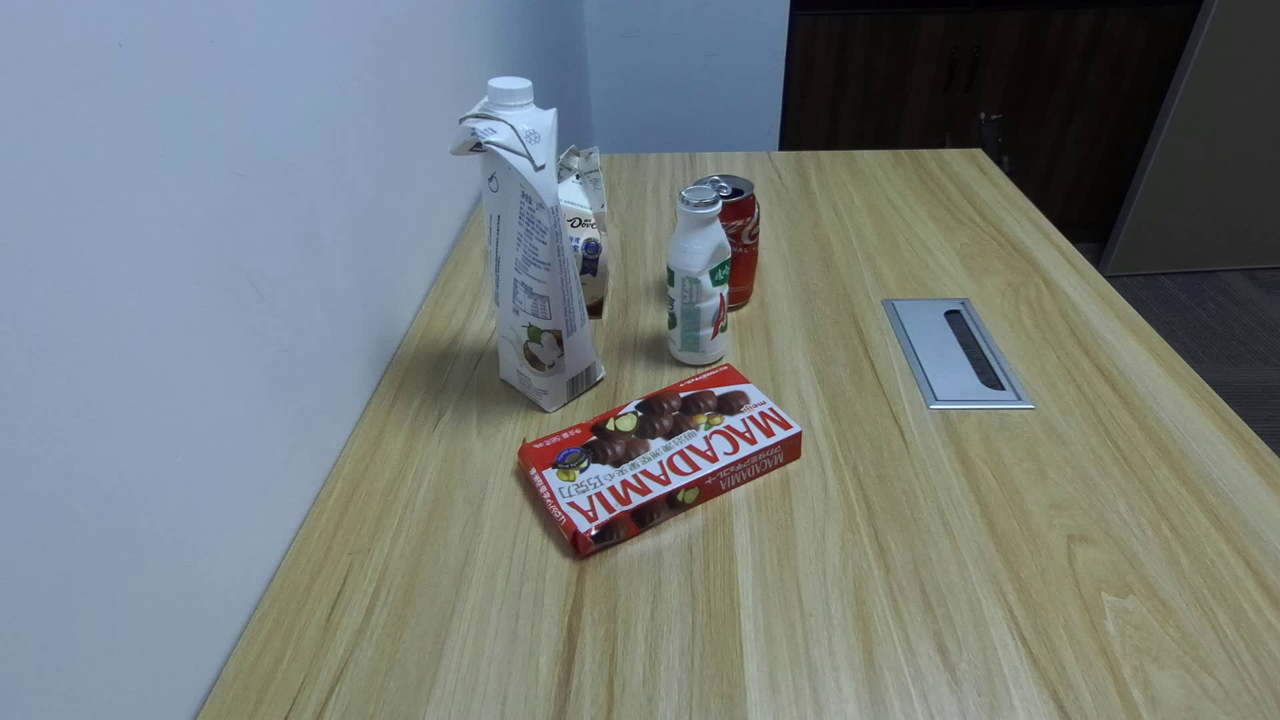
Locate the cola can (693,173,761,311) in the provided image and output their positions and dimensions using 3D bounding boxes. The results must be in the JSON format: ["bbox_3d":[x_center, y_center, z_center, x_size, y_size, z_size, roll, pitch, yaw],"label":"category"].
[{"bbox_3d":[0.075,-0.111,0.657,0.066,0.117,0.066,-4,39,-1],"label":"cola can"}]

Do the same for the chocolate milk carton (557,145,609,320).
[{"bbox_3d":[-0.068,-0.120,0.658,0.077,0.155,0.089,0,19,-5],"label":"chocolate milk carton"}]

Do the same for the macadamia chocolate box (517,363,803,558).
[{"bbox_3d":[0.015,0.064,0.502,0.183,0.028,0.105,-20,40,-21],"label":"macadamia chocolate box"}]

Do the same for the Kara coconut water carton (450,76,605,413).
[{"bbox_3d":[-0.081,-0.079,0.521,0.069,0.239,0.114,-31,43,-30],"label":"Kara coconut water carton"}]

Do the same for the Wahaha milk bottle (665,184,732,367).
[{"bbox_3d":[0.048,-0.066,0.569,0.056,0.148,0.056,-1,35,1],"label":"Wahaha milk bottle"}]
